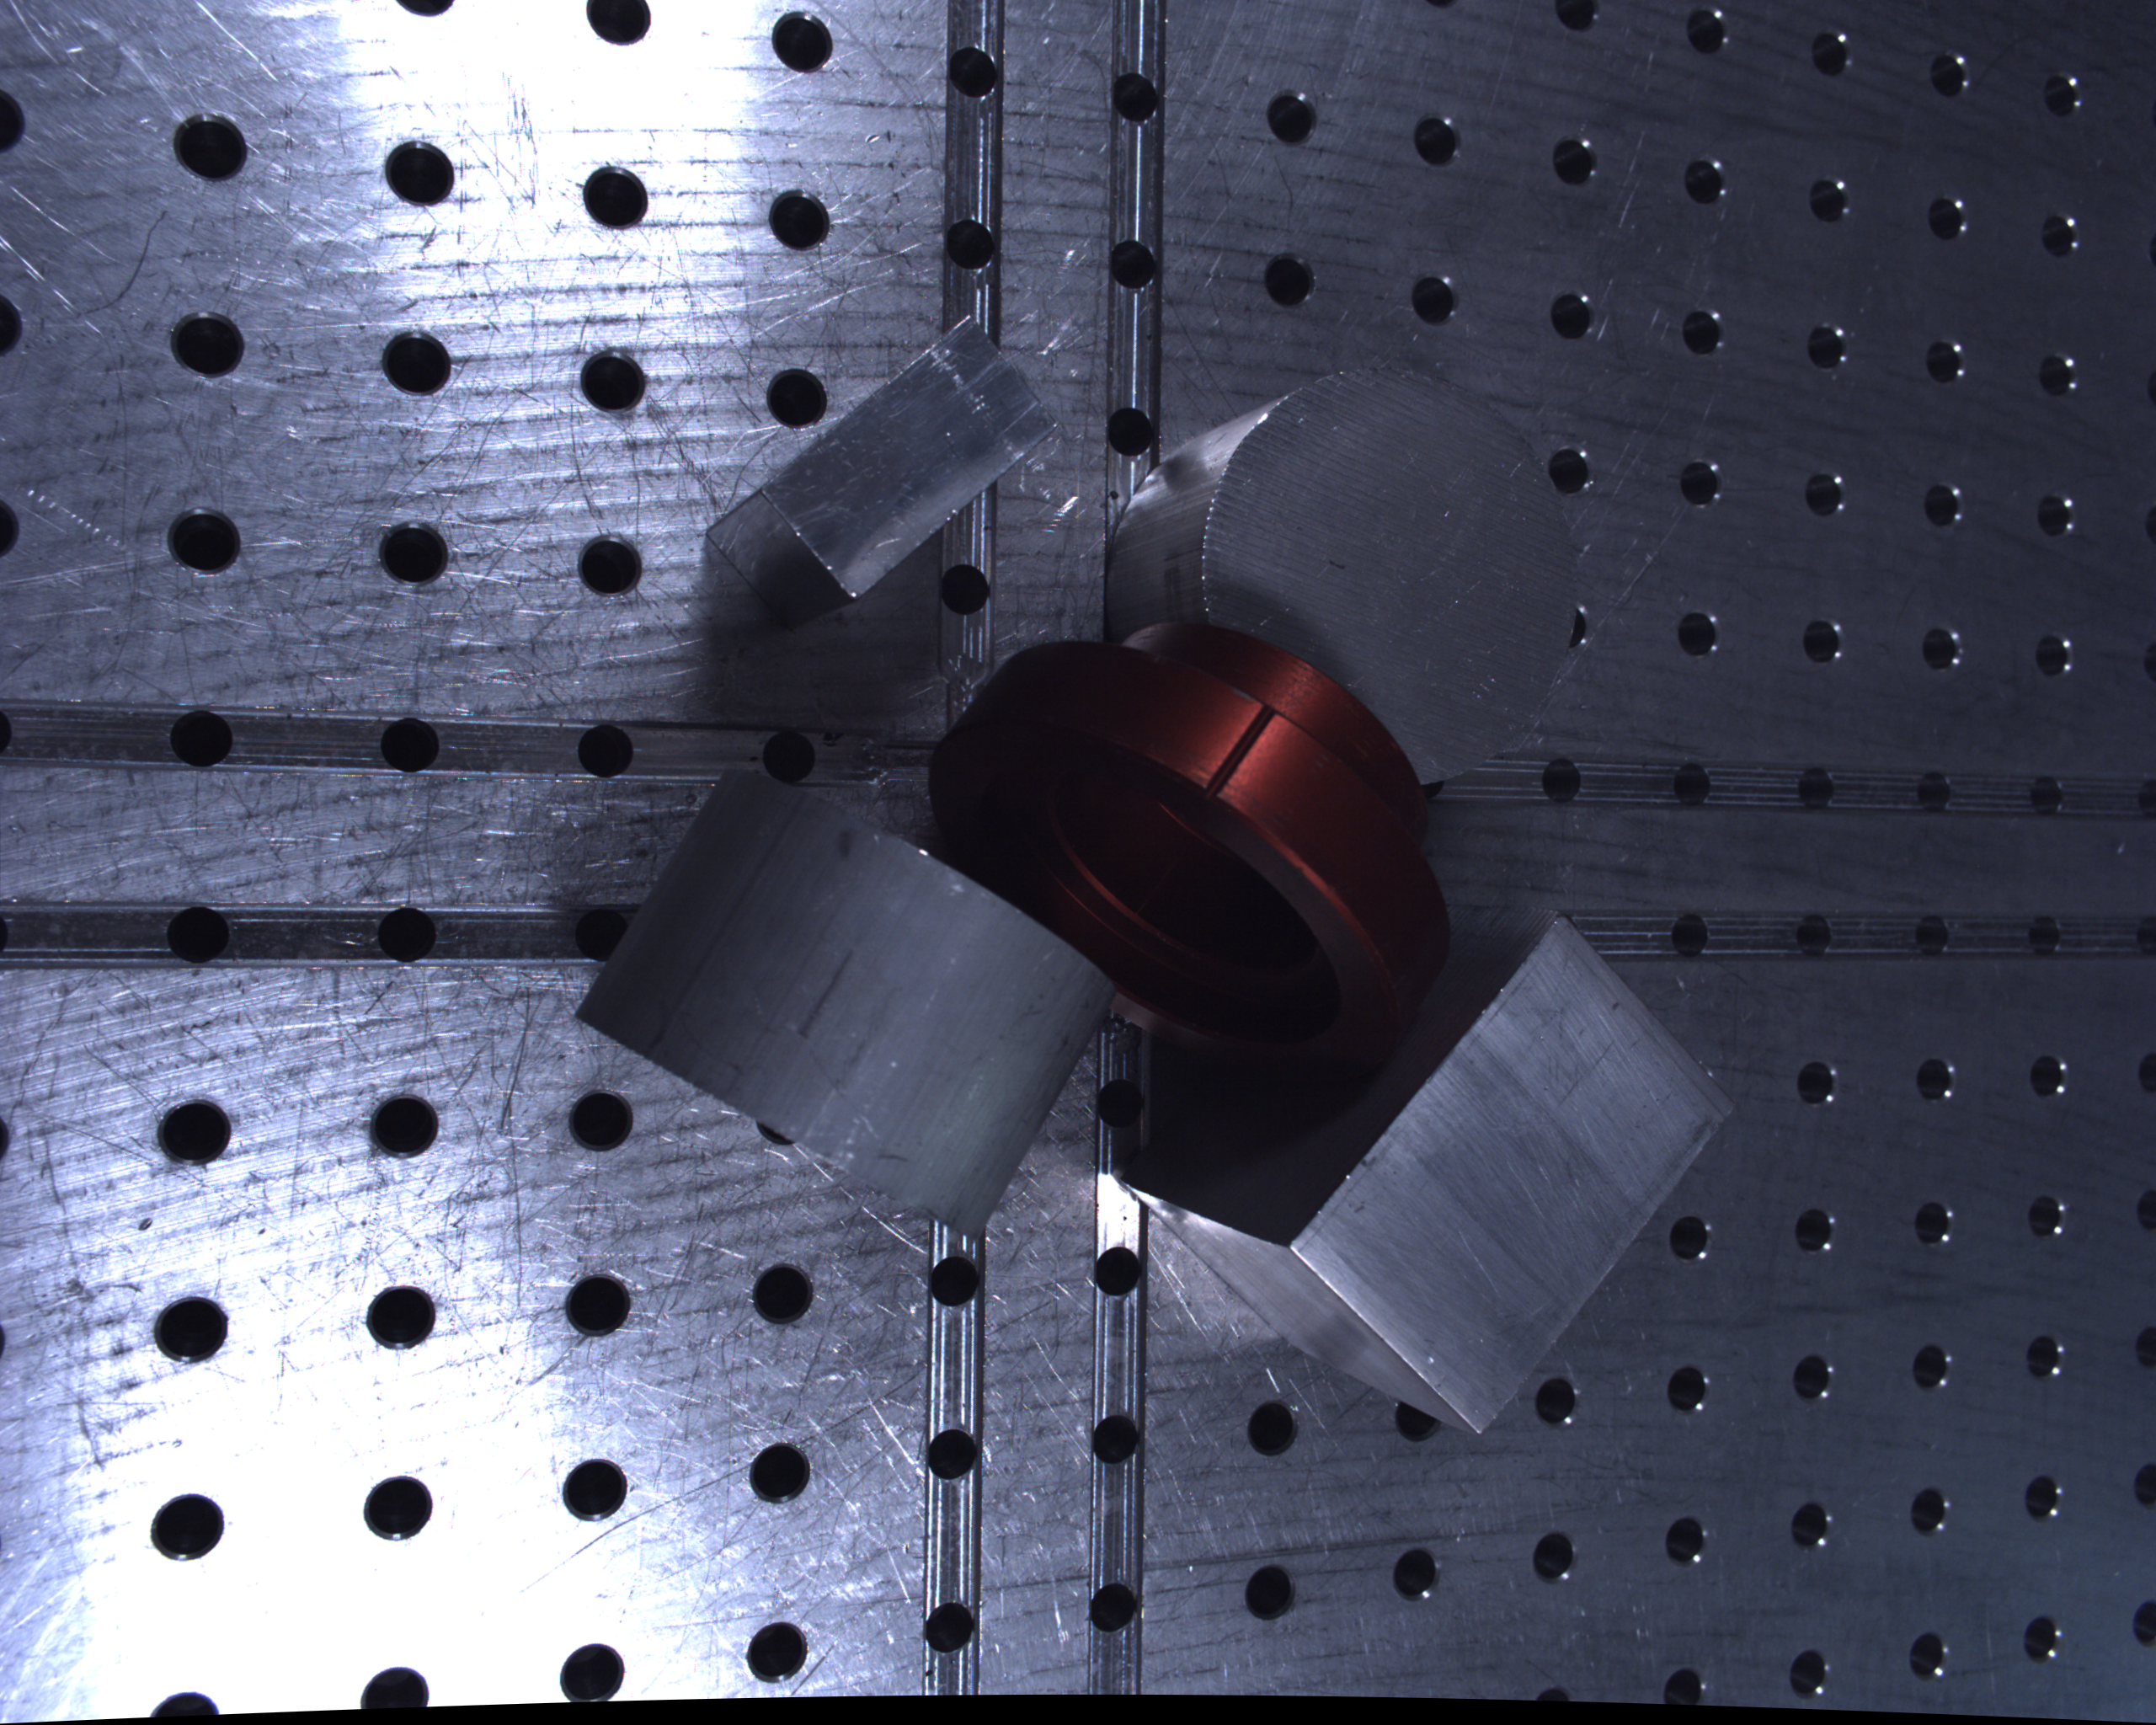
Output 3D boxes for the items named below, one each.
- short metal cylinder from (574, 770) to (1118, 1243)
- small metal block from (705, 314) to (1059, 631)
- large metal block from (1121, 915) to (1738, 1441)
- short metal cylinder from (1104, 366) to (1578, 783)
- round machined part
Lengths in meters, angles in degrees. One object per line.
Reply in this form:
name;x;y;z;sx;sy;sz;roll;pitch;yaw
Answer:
short metal cylinder;-0.040;0.026;0.369;0.080;0.080;0.050;33;79;-18
small metal block;-0.037;-0.071;0.386;0.050;0.050;0.025;-44;104;-15
large metal block;0.066;0.056;0.410;0.050;0.080;0.080;45;76;-15
short metal cylinder;0.052;-0.055;0.419;0.081;0.050;0.079;0;90;-21
round machined part;0.024;-0.006;0.384;0.098;0.098;0.042;43;64;-16
